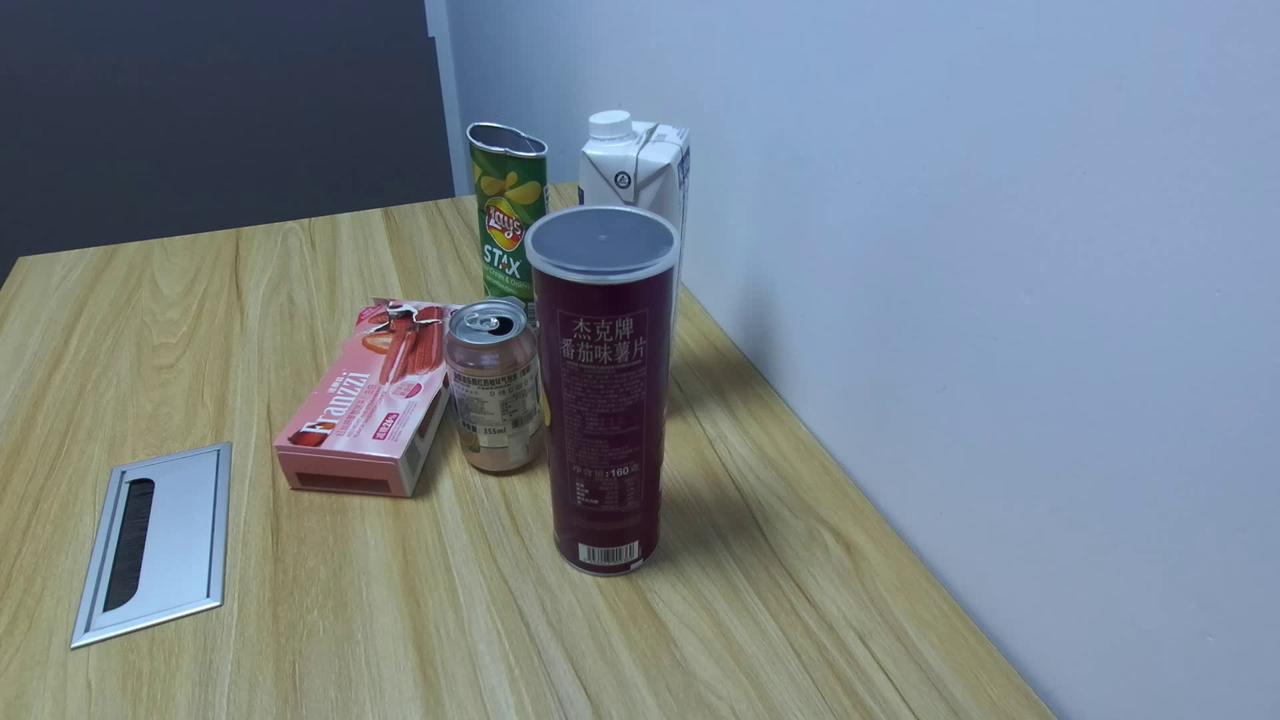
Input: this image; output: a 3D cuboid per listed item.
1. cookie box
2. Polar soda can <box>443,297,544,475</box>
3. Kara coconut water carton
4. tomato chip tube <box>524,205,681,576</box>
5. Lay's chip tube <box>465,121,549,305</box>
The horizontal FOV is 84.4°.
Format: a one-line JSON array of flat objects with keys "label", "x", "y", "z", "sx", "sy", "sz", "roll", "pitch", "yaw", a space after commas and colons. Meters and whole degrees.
[{"label": "cookie box", "x": -0.210, "y": 0.023, "z": 0.584, "sx": 0.105, "sy": 0.059, "sz": 0.185, "roll": 2, "pitch": 39, "yaw": 3}, {"label": "Polar soda can", "x": -0.106, "y": 0.022, "z": 0.537, "sx": 0.067, "sy": 0.126, "sz": 0.067, "roll": 0, "pitch": 38, "yaw": 0}, {"label": "Kara coconut water carton", "x": -0.008, "y": -0.069, "z": 0.552, "sx": 0.075, "sy": 0.245, "sz": 0.077, "roll": 11, "pitch": 39, "yaw": 8}, {"label": "tomato chip tube", "x": -0.020, "y": 0.030, "z": 0.430, "sx": 0.078, "sy": 0.234, "sz": 0.078, "roll": 1, "pitch": 38, "yaw": -1}, {"label": "Lay's chip tube", "x": -0.107, "y": -0.097, "z": 0.623, "sx": 0.075, "sy": 0.200, "sz": 0.069, "roll": 3, "pitch": 36, "yaw": 3}]
